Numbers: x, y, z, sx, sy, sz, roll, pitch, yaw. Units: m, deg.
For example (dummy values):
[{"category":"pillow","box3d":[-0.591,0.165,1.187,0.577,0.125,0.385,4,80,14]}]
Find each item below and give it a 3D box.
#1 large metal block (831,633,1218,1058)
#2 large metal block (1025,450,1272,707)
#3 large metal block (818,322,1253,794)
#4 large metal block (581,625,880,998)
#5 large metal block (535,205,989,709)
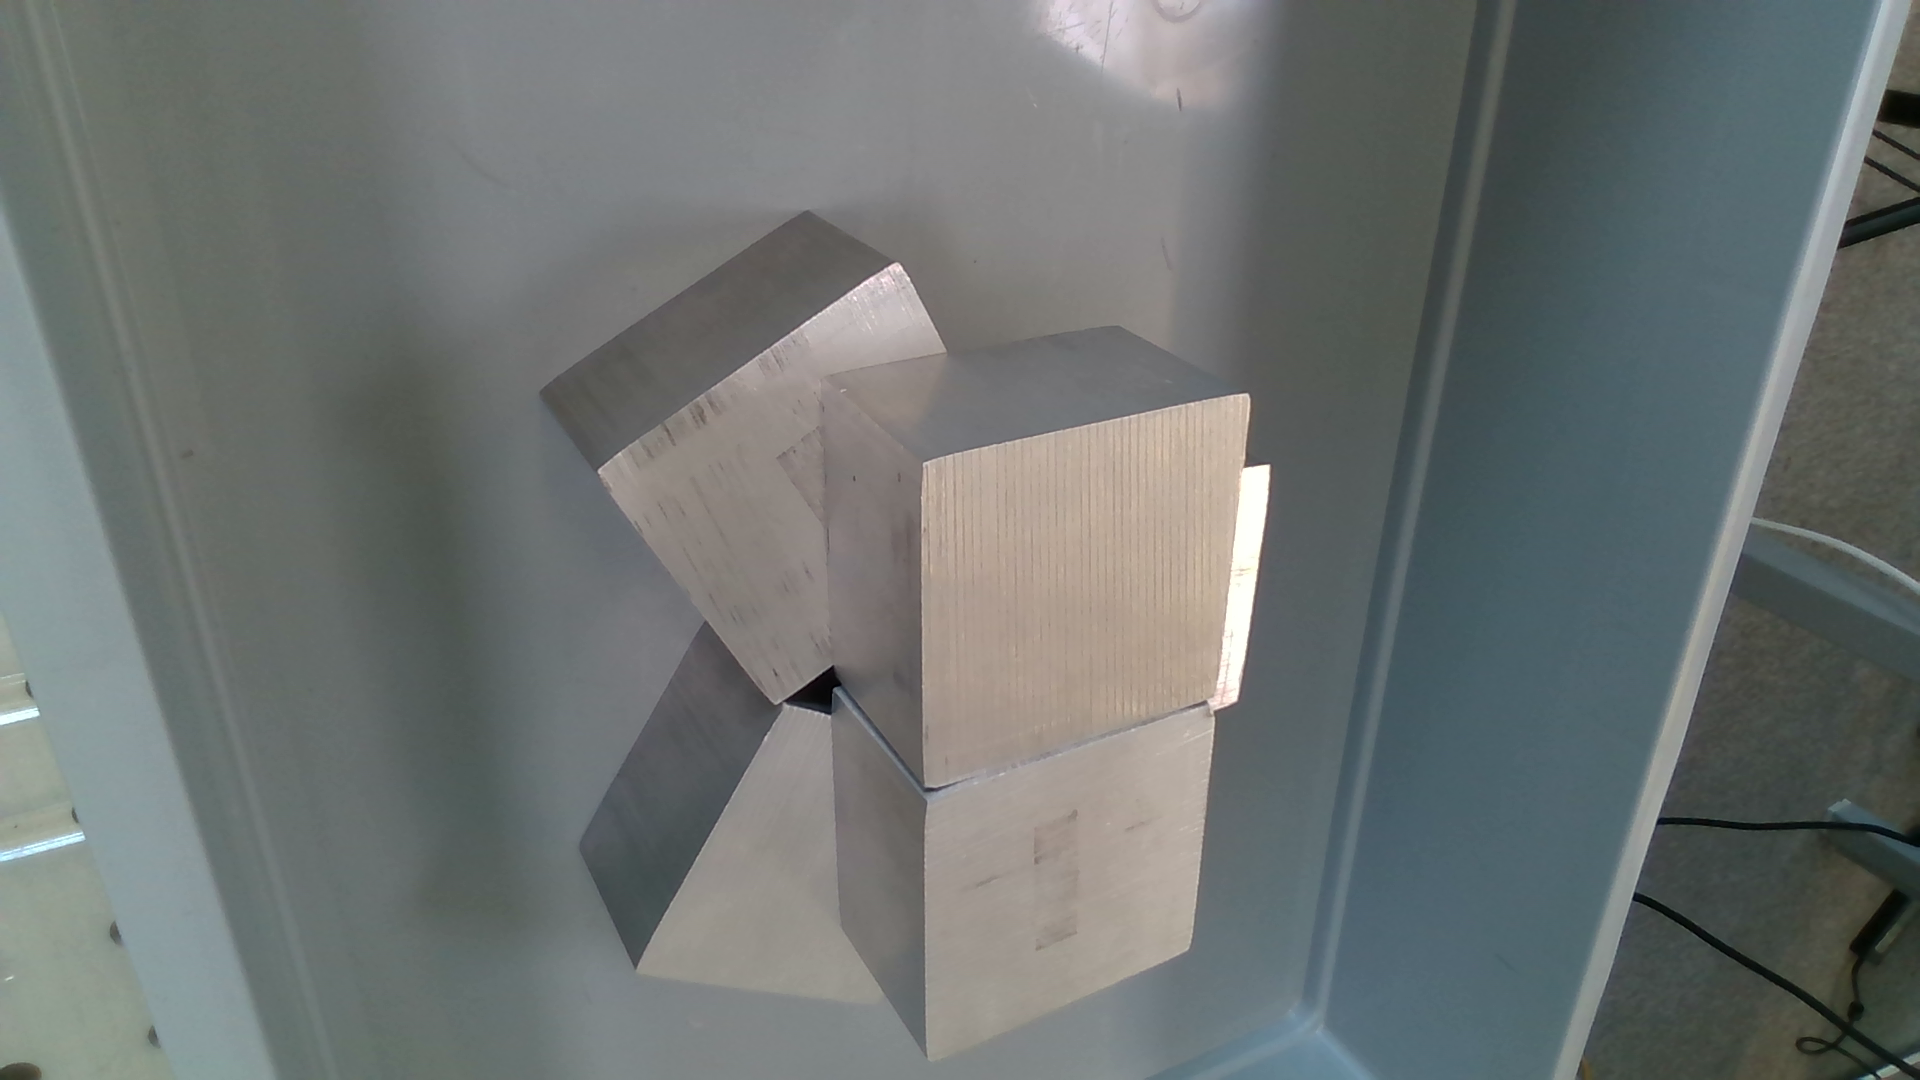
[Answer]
[{"category":"large metal block","box3d":[0.015,0.073,0.355,0.080,0.050,0.080,-14,121,-25]},{"category":"large metal block","box3d":[0.038,0.011,0.402,0.080,0.050,0.080,-13,121,-26]},{"category":"large metal block","box3d":[0.016,0.001,0.318,0.080,0.050,0.080,-14,121,-25]},{"category":"large metal block","box3d":[-0.045,0.075,0.383,0.080,0.050,0.080,23,101,-38]},{"category":"large metal block","box3d":[-0.041,-0.021,0.336,0.080,0.050,0.080,-37,128,-10]}]
